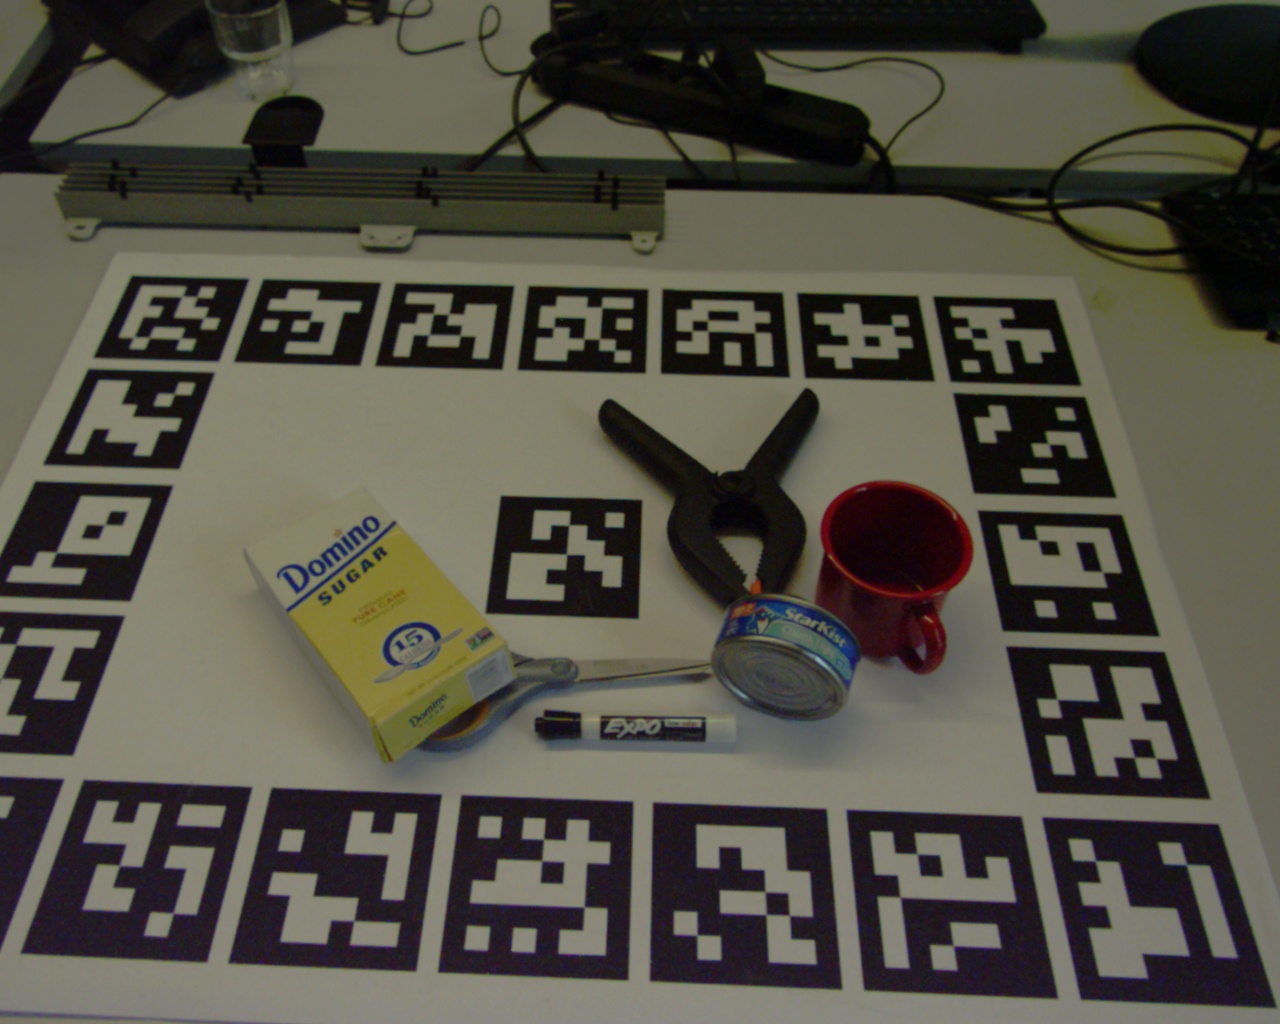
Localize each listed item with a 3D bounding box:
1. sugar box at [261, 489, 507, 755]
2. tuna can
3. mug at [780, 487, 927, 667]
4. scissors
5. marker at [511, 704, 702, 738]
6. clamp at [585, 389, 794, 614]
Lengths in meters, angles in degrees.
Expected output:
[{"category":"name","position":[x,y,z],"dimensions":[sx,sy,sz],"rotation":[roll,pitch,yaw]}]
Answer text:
[{"category":"sugar box","position":[-0.172,0.066,0.756],"dimensions":[0.092,0.045,0.178],"rotation":[-29,52,-21]},{"category":"tuna can","position":[0.082,0.090,0.721],"dimensions":[0.086,0.085,0.033],"rotation":[16,53,11]},{"category":"mug","position":[0.142,0.053,0.757],"dimensions":[0.092,0.081,0.118],"rotation":[-20,52,-16]},{"category":"scissors","position":[-0.066,0.098,0.753],"dimensions":[0.202,0.016,0.088],"rotation":[-6,49,-7]},{"category":"marker","position":[-0.022,0.134,0.728],"dimensions":[0.121,0.019,0.020],"rotation":[-1,53,-1]},{"category":"clamp","position":[0.053,-0.005,0.838],"dimensions":[0.165,0.036,0.204],"rotation":[-6,54,-6]}]
